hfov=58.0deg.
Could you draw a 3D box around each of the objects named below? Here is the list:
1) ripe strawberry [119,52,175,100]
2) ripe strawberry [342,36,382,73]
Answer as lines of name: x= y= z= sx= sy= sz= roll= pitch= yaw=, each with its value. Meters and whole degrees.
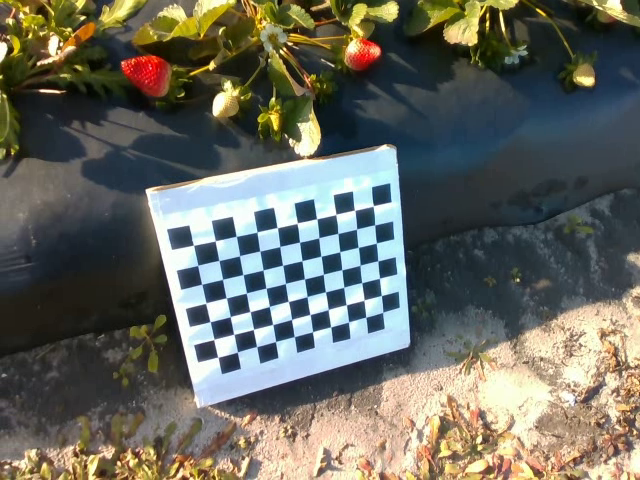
ripe strawberry: x=-0.156 y=-0.151 z=0.520 sx=0.053 sy=0.044 sz=0.036 roll=13 pitch=14 yaw=-31
ripe strawberry: x=0.045 y=-0.184 z=0.569 sx=0.045 sy=0.037 sz=0.042 roll=3 pitch=37 yaw=46
